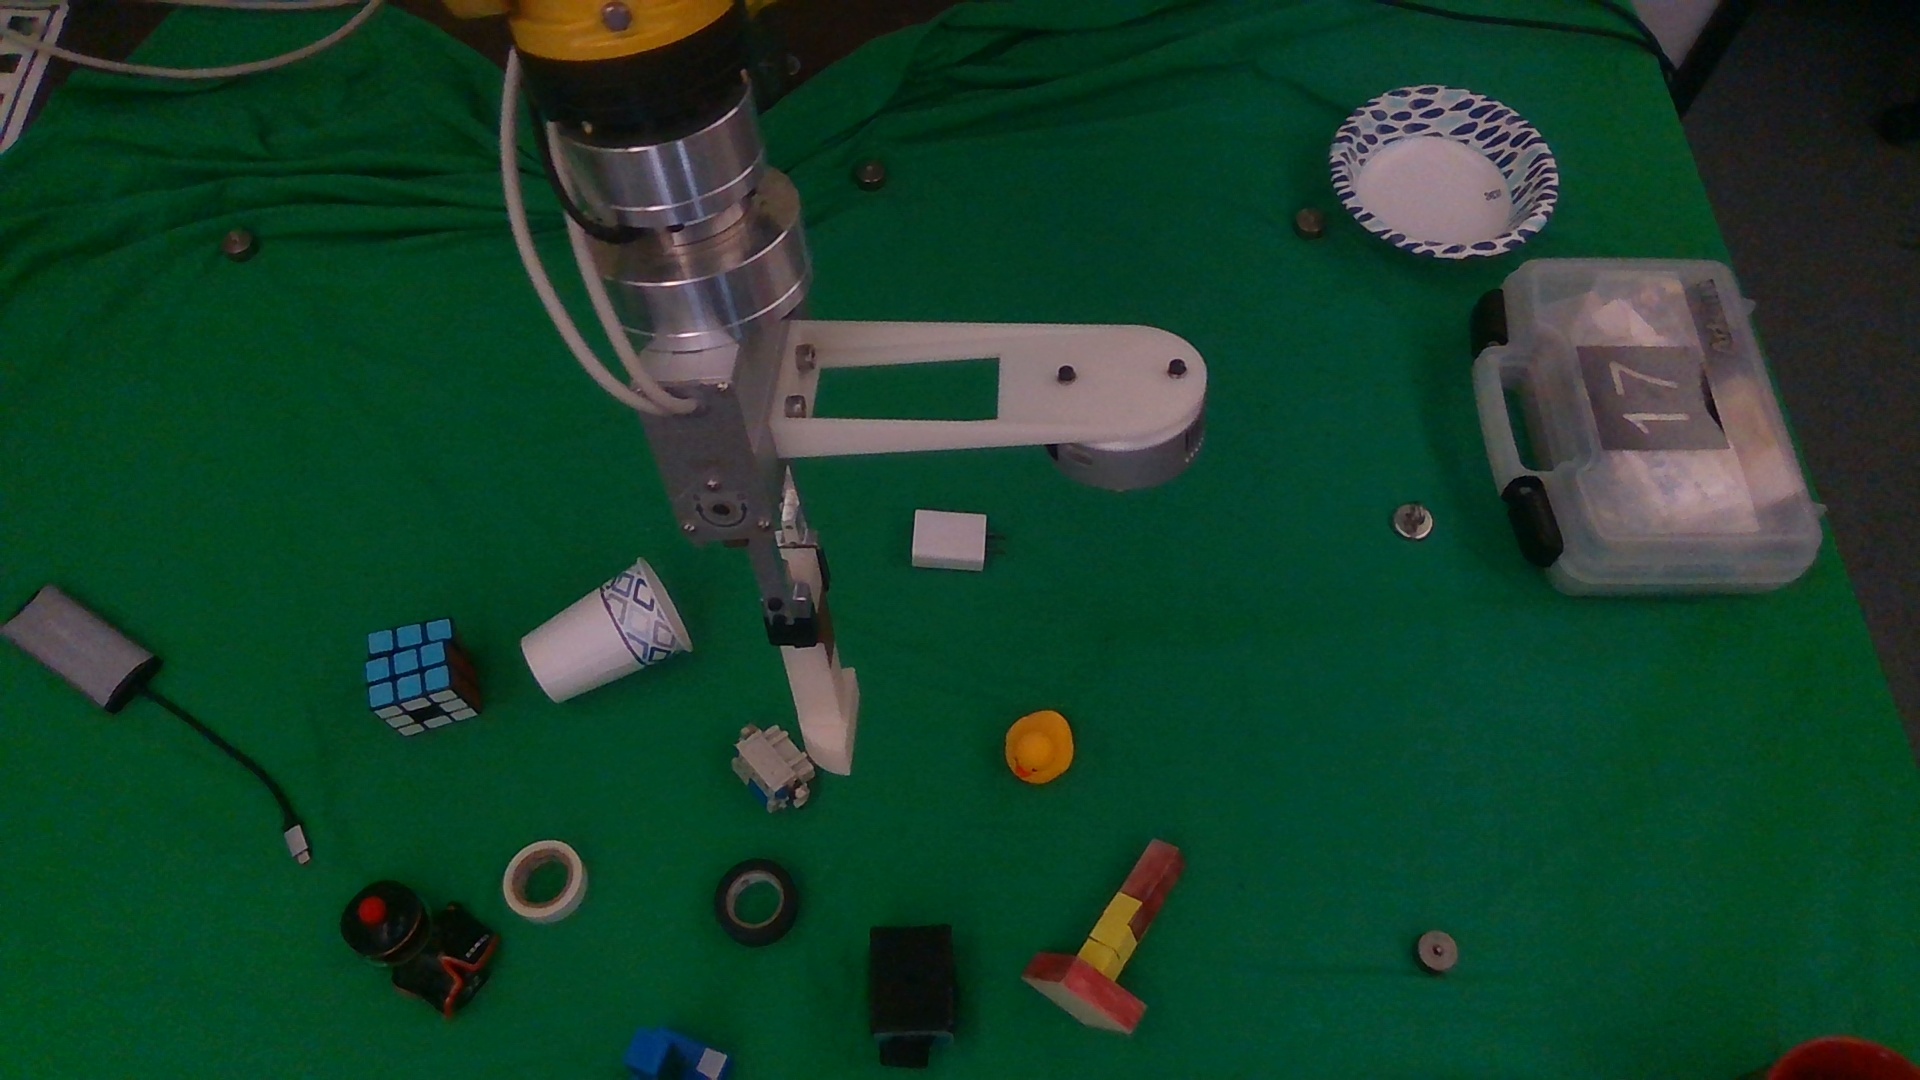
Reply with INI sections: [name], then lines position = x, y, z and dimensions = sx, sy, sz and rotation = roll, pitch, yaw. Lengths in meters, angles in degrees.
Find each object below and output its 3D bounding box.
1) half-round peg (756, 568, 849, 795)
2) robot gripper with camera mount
[half-round peg]
position = -0.070, 0.059, 0.613
dimensions = 0.031, 0.122, 0.054
rotation = -7, 46, -4
[robot gripper with camera mount]
position = -0.019, -0.027, 0.532
dimensions = 0.193, 0.158, 0.119
rotation = -3, 44, 7
